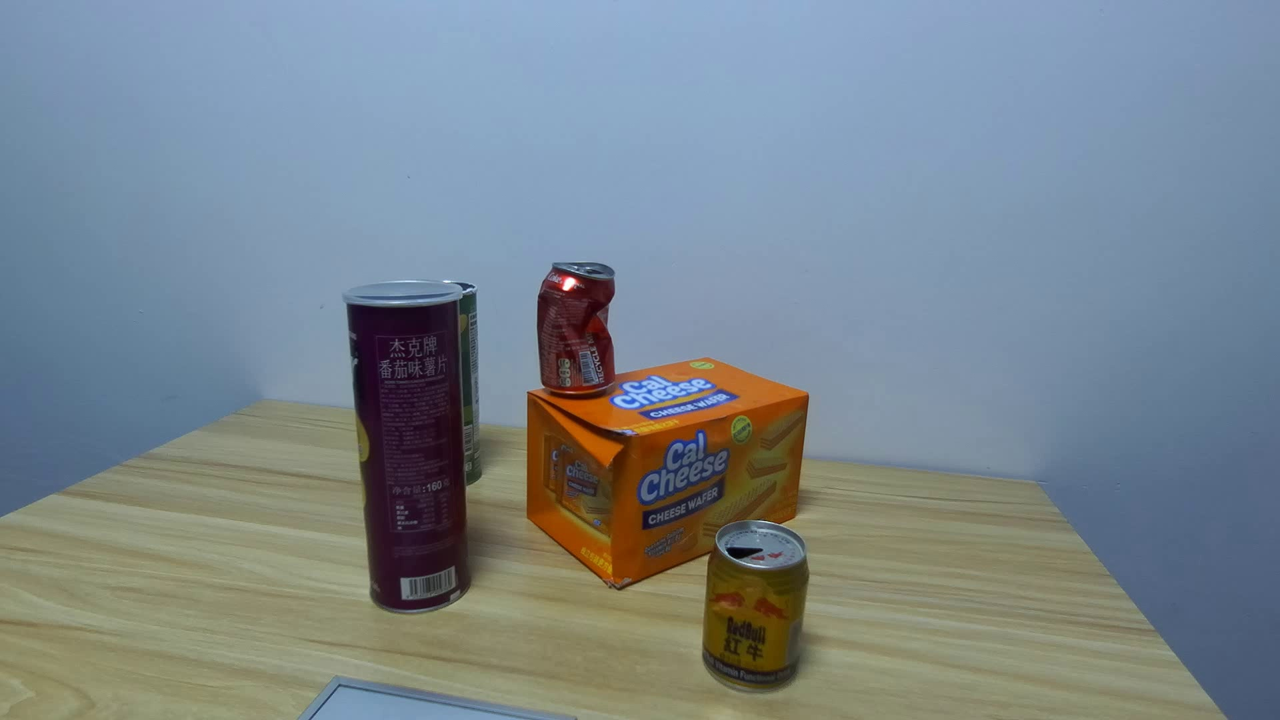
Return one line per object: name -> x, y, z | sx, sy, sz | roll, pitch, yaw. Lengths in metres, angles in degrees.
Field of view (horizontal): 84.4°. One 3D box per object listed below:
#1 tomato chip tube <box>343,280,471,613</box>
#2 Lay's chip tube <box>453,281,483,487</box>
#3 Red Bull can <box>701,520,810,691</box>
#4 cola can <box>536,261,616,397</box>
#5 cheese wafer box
tomato chip tube -> -0.166, 0.065, 0.524 | 0.078, 0.234, 0.078 | 2, 16, 0
Lay's chip tube -> -0.199, 0.024, 0.724 | 0.071, 0.202, 0.071 | 1, 14, 0
Red Bull can -> 0.076, 0.161, 0.470 | 0.069, 0.092, 0.069 | 2, 18, 0
cola can -> -0.054, -0.028, 0.614 | 0.069, 0.112, 0.065 | -3, 16, -18
cheese wafer box -> 0.025, 0.086, 0.652 | 0.228, 0.137, 0.149 | -9, 20, -36
